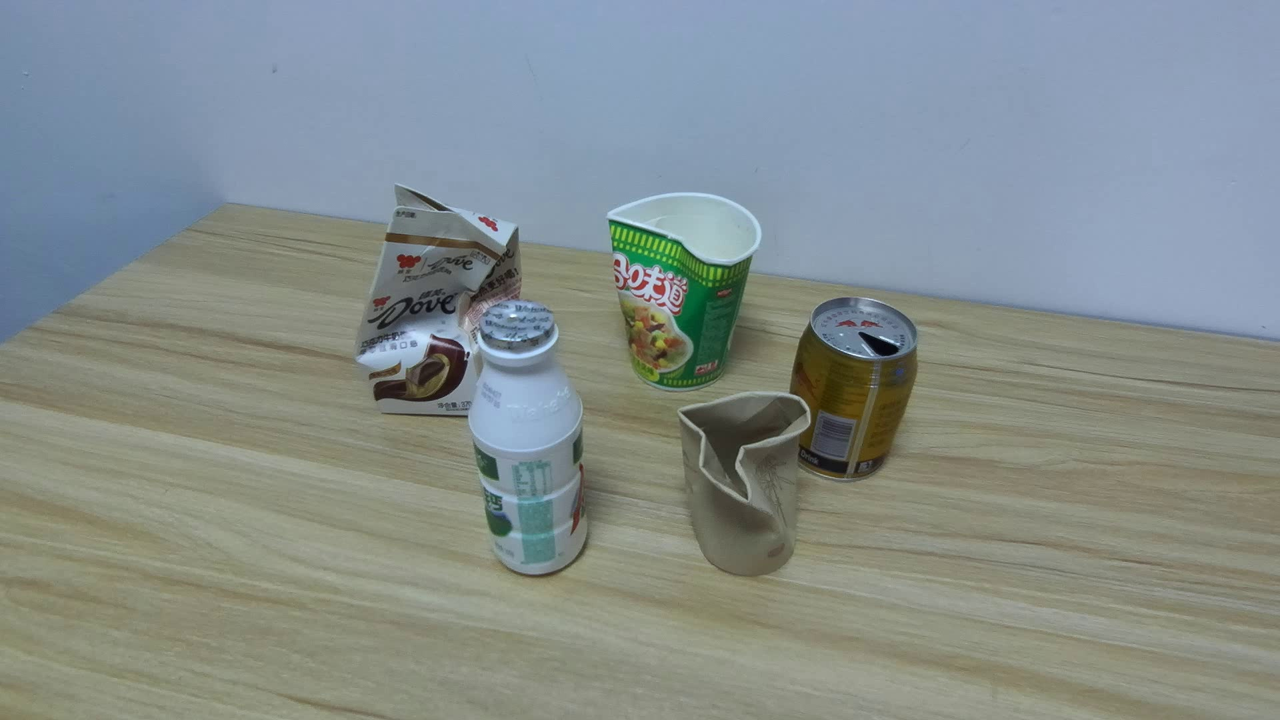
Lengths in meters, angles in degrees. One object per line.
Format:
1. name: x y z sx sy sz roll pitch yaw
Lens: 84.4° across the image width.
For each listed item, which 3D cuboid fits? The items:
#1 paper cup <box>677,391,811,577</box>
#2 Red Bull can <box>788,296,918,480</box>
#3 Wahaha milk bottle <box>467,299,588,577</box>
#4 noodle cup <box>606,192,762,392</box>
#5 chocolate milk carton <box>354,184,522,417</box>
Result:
1. paper cup: 0.058 0.067 0.358 0.066 0.083 0.058 -11 42 -12
2. Red Bull can: 0.122 0.017 0.416 0.068 0.093 0.068 1 38 0
3. Wahaha milk bottle: -0.053 0.041 0.339 0.053 0.147 0.053 0 37 1
4. noodle cup: 0.033 -0.041 0.472 0.087 0.109 0.093 -16 42 -21
5. chocolate milk carton: -0.123 -0.038 0.441 0.089 0.155 0.076 10 43 -11
